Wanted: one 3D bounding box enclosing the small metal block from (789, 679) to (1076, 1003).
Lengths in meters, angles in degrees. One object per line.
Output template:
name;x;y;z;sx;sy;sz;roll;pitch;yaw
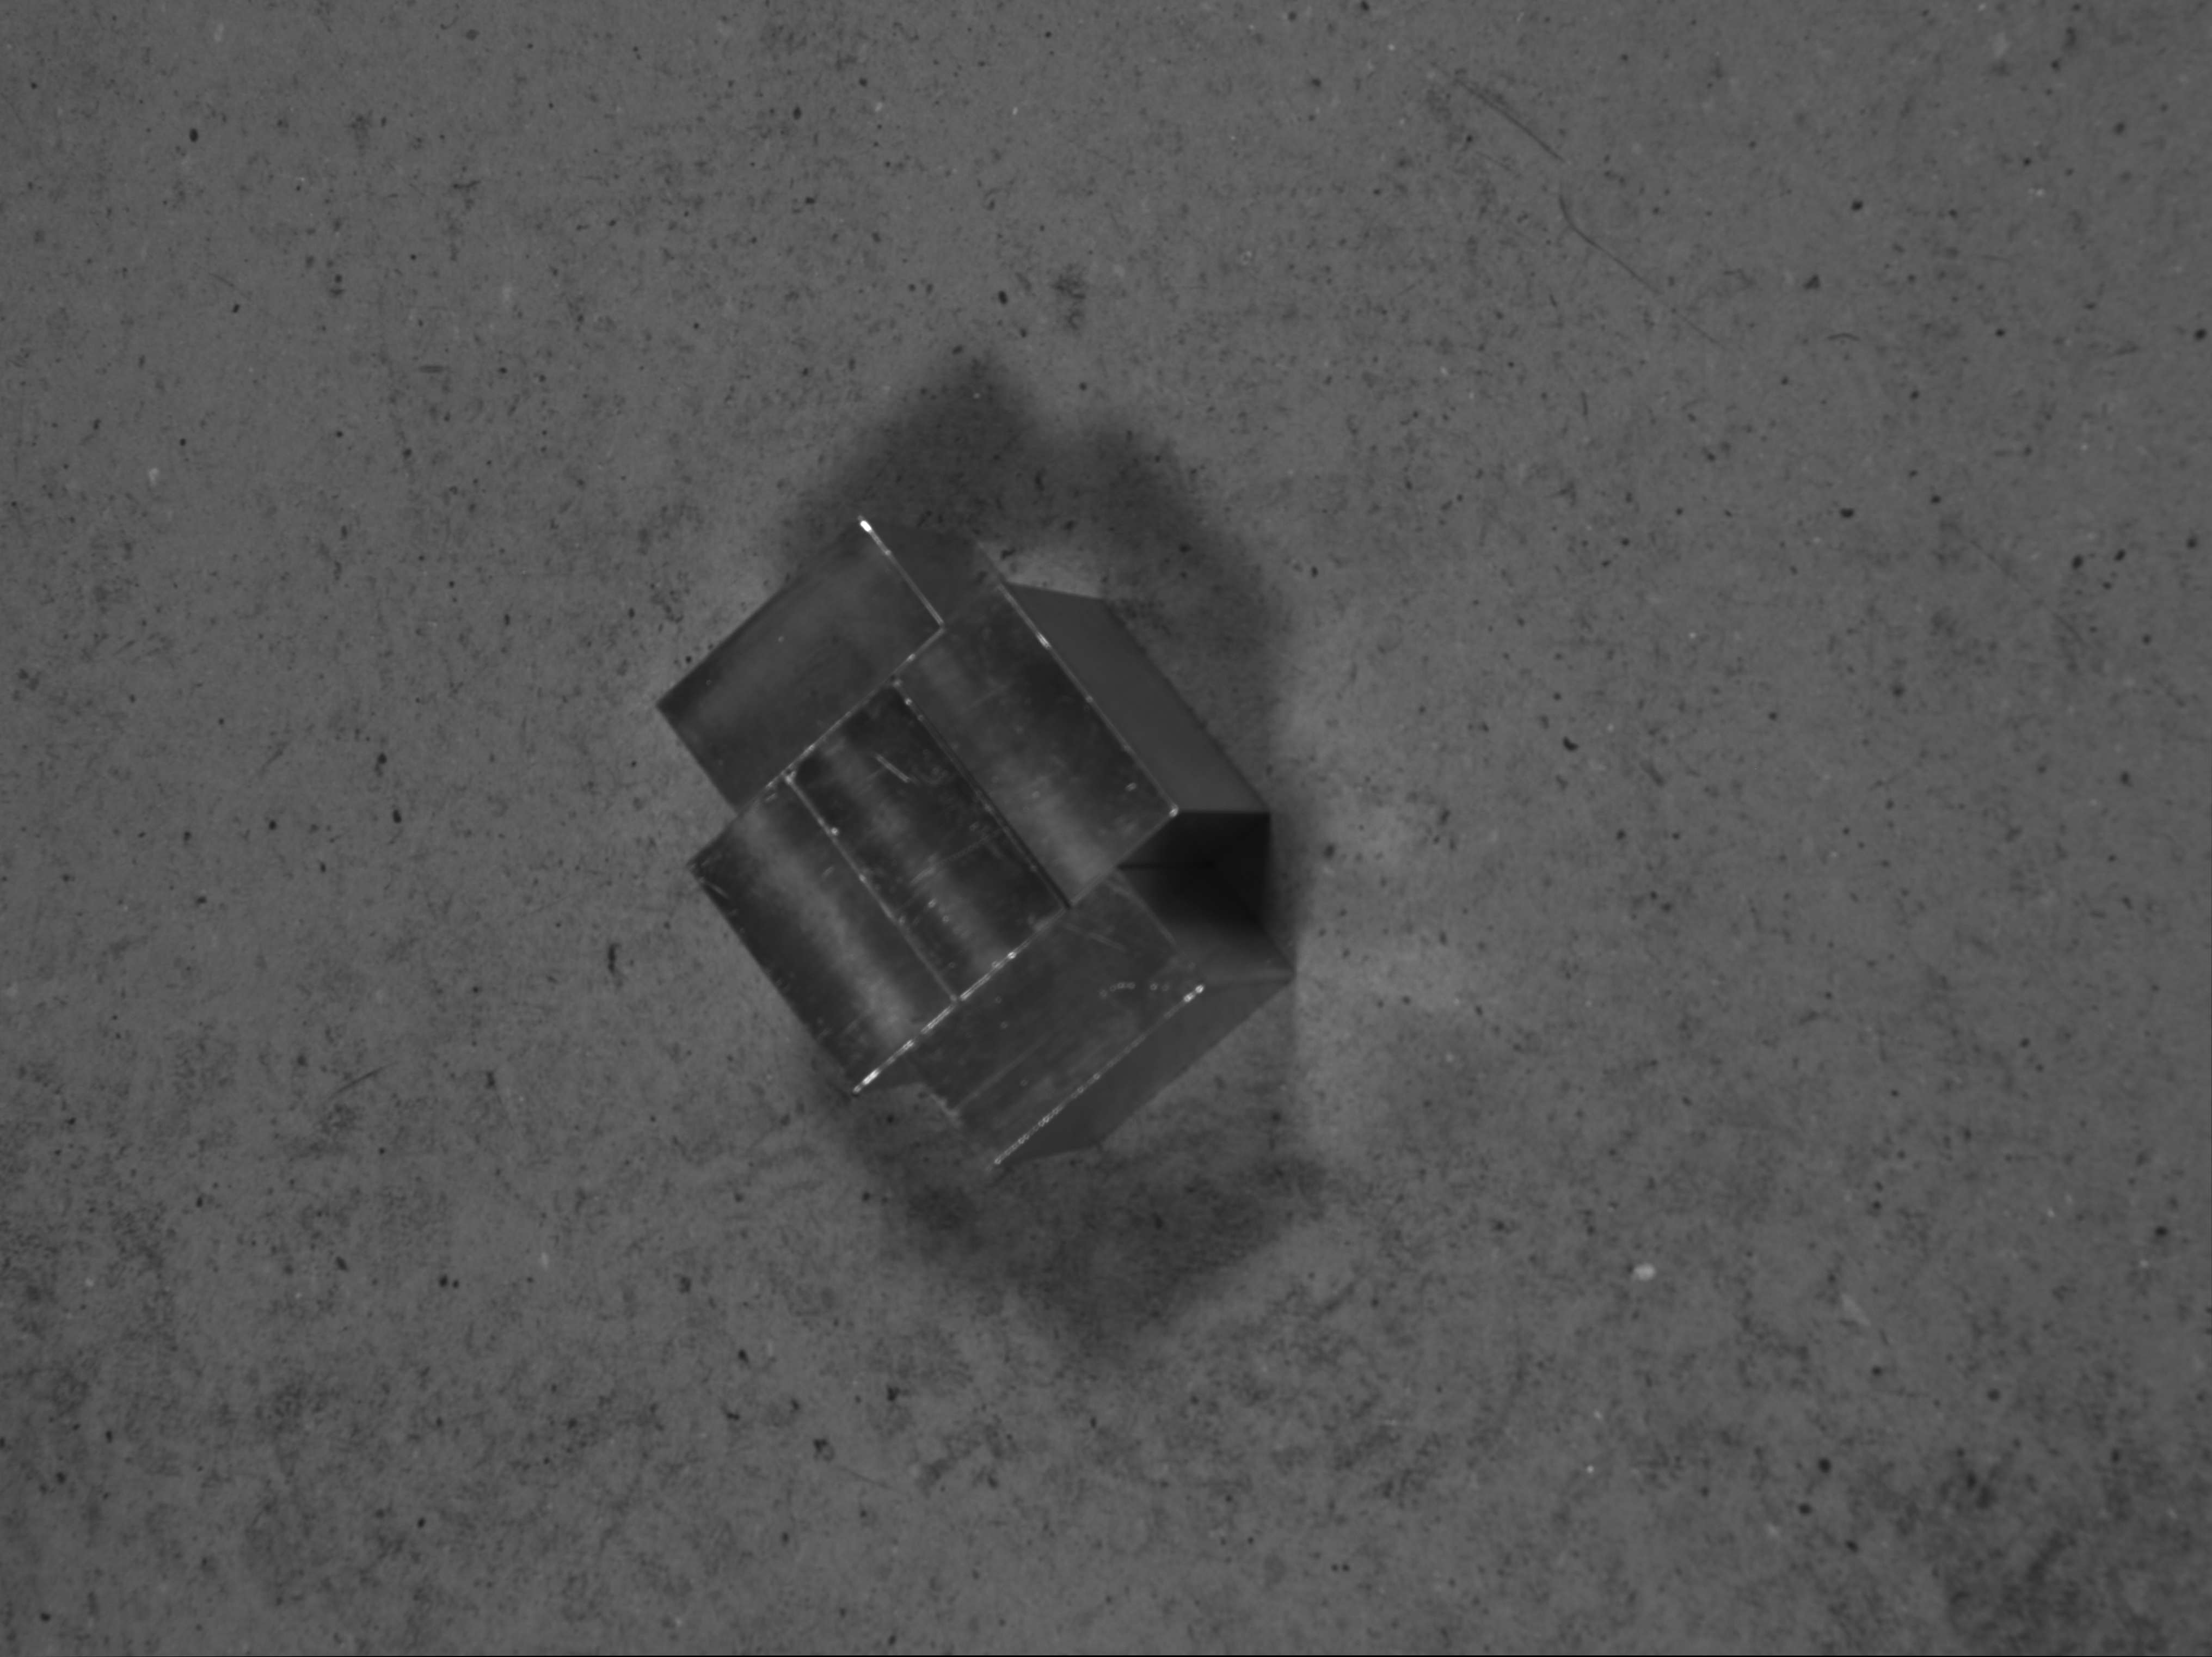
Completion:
small metal block;-0.021;0.002;0.638;0.025;0.050;0.050;-41;77;15

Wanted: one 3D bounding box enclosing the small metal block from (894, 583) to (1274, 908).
small metal block;-0.003;-0.014;0.632;0.025;0.050;0.050;-42;77;15

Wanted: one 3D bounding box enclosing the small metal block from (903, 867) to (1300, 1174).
small metal block;0.000;0.032;0.630;0.050;0.050;0.025;-41;77;15

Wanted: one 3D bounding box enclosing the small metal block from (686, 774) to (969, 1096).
small metal block;-0.040;0.018;0.645;0.025;0.050;0.050;-41;77;15

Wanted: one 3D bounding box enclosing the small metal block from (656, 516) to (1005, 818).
small metal block;-0.044;-0.027;0.646;0.050;0.050;0.025;-41;77;15
